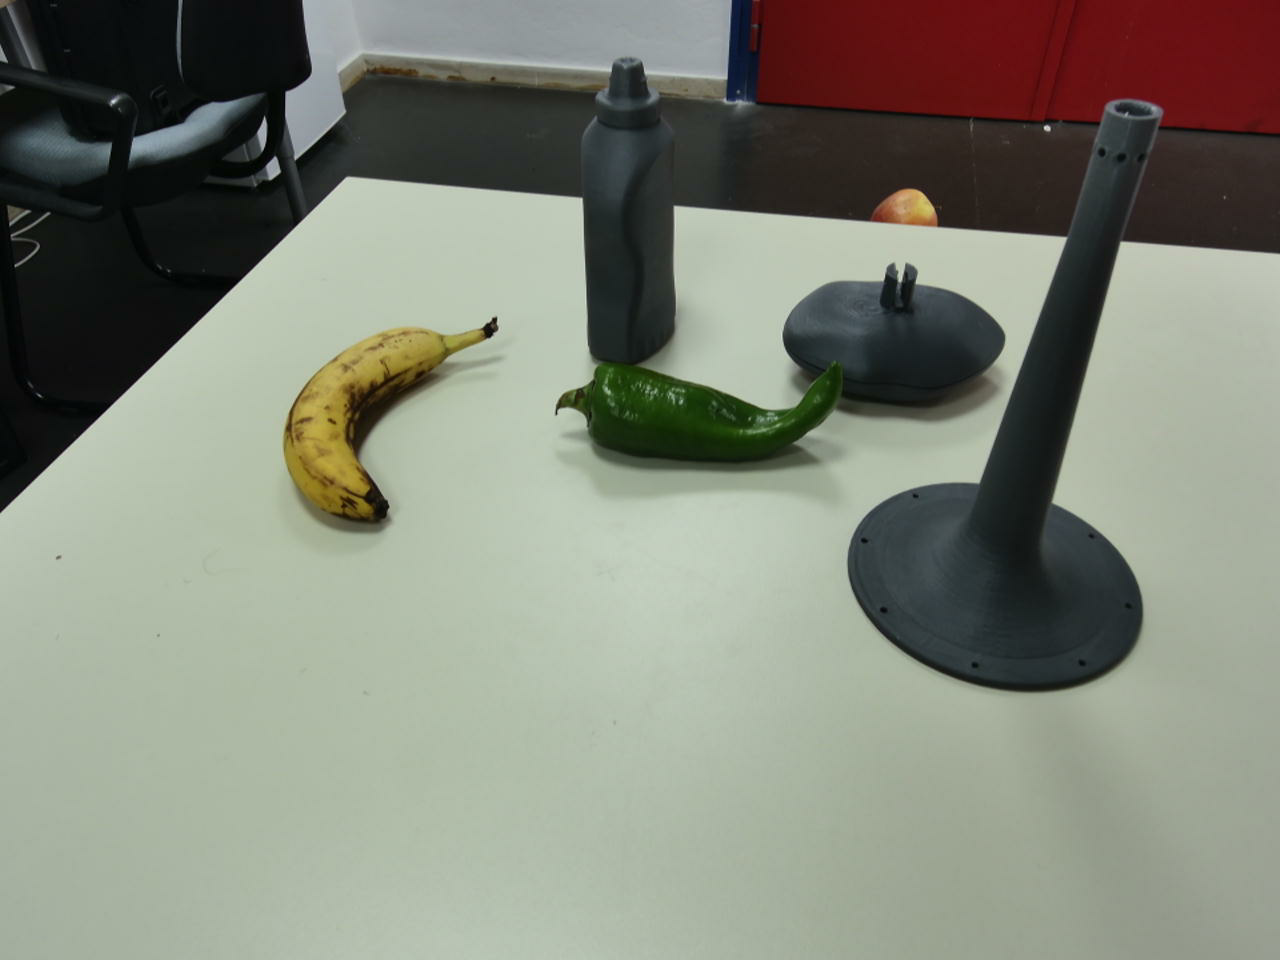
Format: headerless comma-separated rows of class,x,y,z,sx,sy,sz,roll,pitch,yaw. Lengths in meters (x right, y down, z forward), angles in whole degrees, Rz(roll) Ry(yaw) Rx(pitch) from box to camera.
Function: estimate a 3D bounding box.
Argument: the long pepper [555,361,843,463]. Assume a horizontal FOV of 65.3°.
long pepper,0.033,-0.046,0.606,0.175,0.065,0.058,6,40,9
